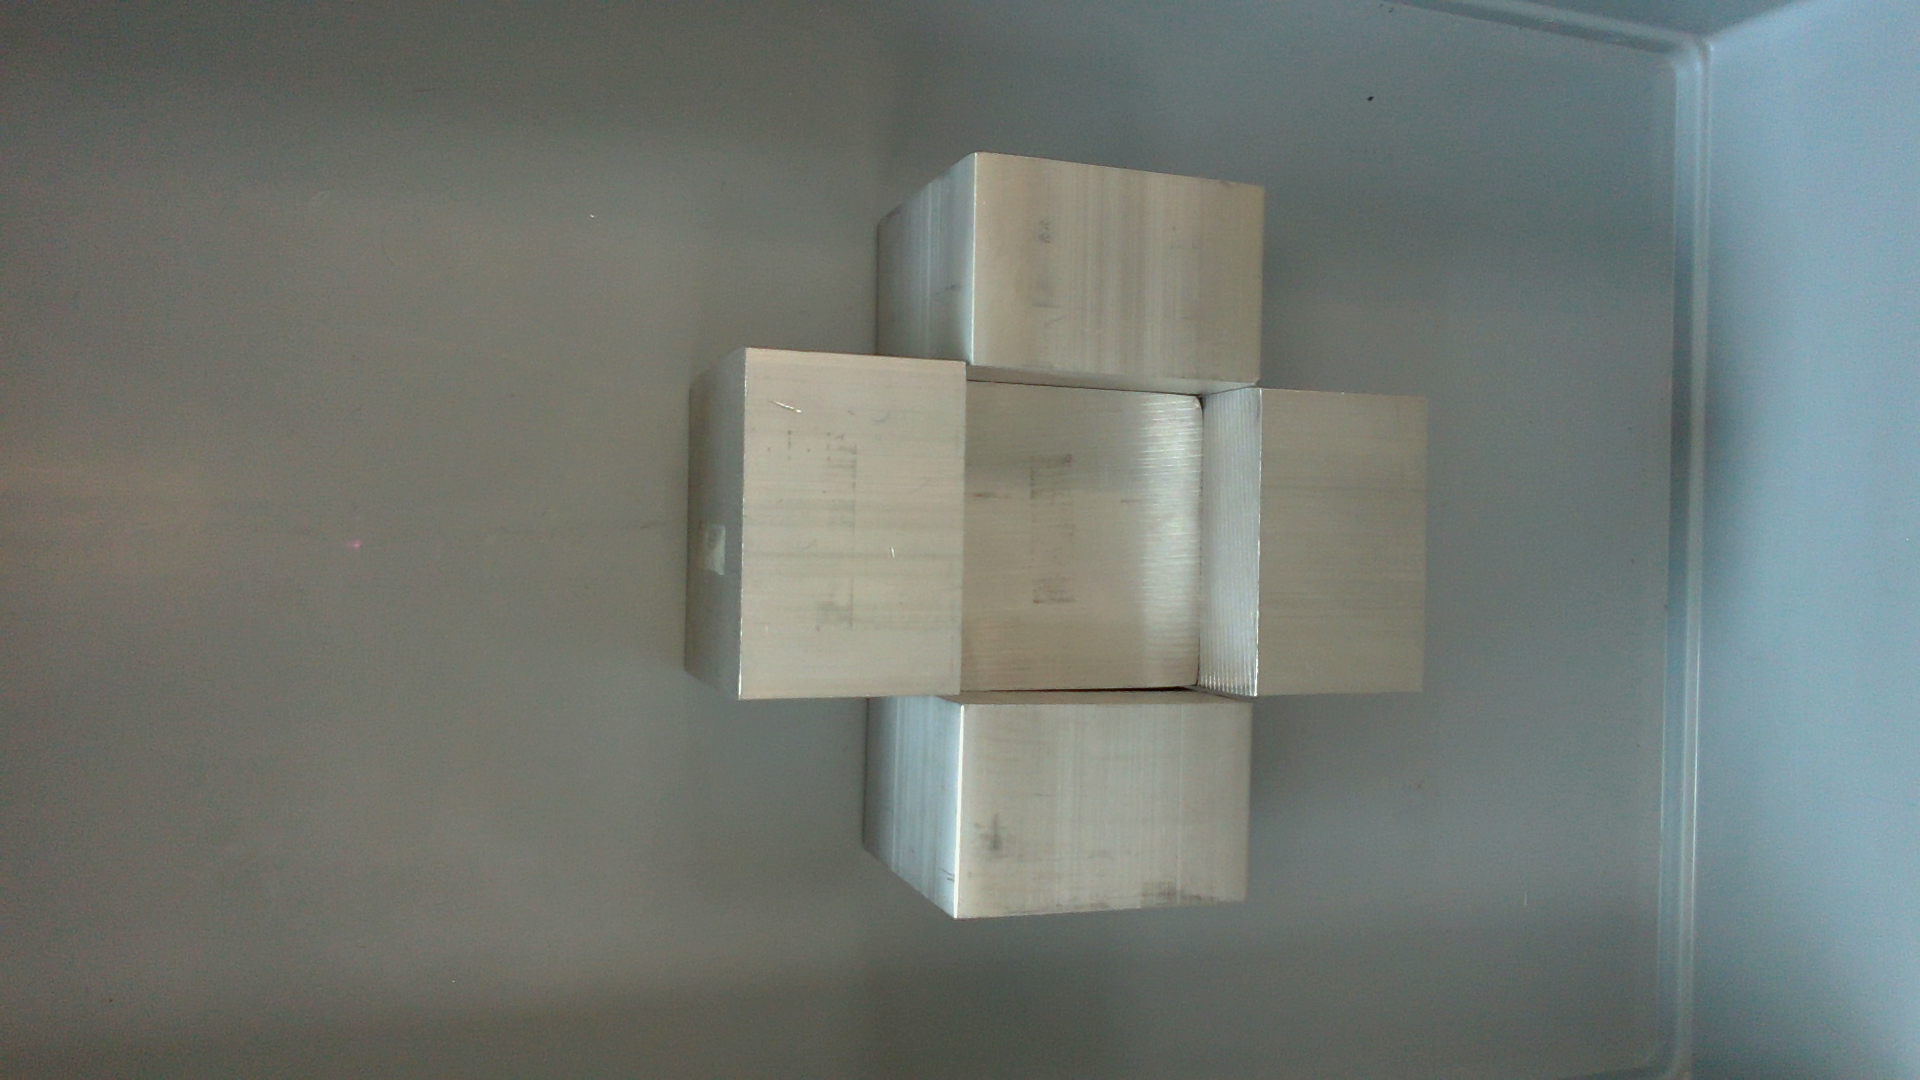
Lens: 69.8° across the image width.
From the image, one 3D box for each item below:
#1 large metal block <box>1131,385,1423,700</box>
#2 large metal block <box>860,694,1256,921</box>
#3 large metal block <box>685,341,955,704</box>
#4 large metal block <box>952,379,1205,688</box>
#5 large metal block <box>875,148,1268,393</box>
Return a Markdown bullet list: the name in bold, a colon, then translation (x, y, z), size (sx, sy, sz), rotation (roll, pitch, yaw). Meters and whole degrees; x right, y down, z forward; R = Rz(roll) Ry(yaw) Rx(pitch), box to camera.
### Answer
- **large metal block**: translation (0.086, 0.001, 0.395), size (0.050, 0.080, 0.080), rotation (1, 90, -20)
- **large metal block**: translation (0.023, 0.065, 0.371), size (0.080, 0.080, 0.050), rotation (2, 89, -20)
- **large metal block**: translation (-0.039, -0.004, 0.350), size (0.050, 0.080, 0.080), rotation (1, 90, -20)
- **large metal block**: translation (0.020, -0.001, 0.385), size (0.080, 0.050, 0.080), rotation (1, 90, -20)
- **large metal block**: translation (0.027, -0.066, 0.373), size (0.080, 0.080, 0.050), rotation (1, 90, -20)
